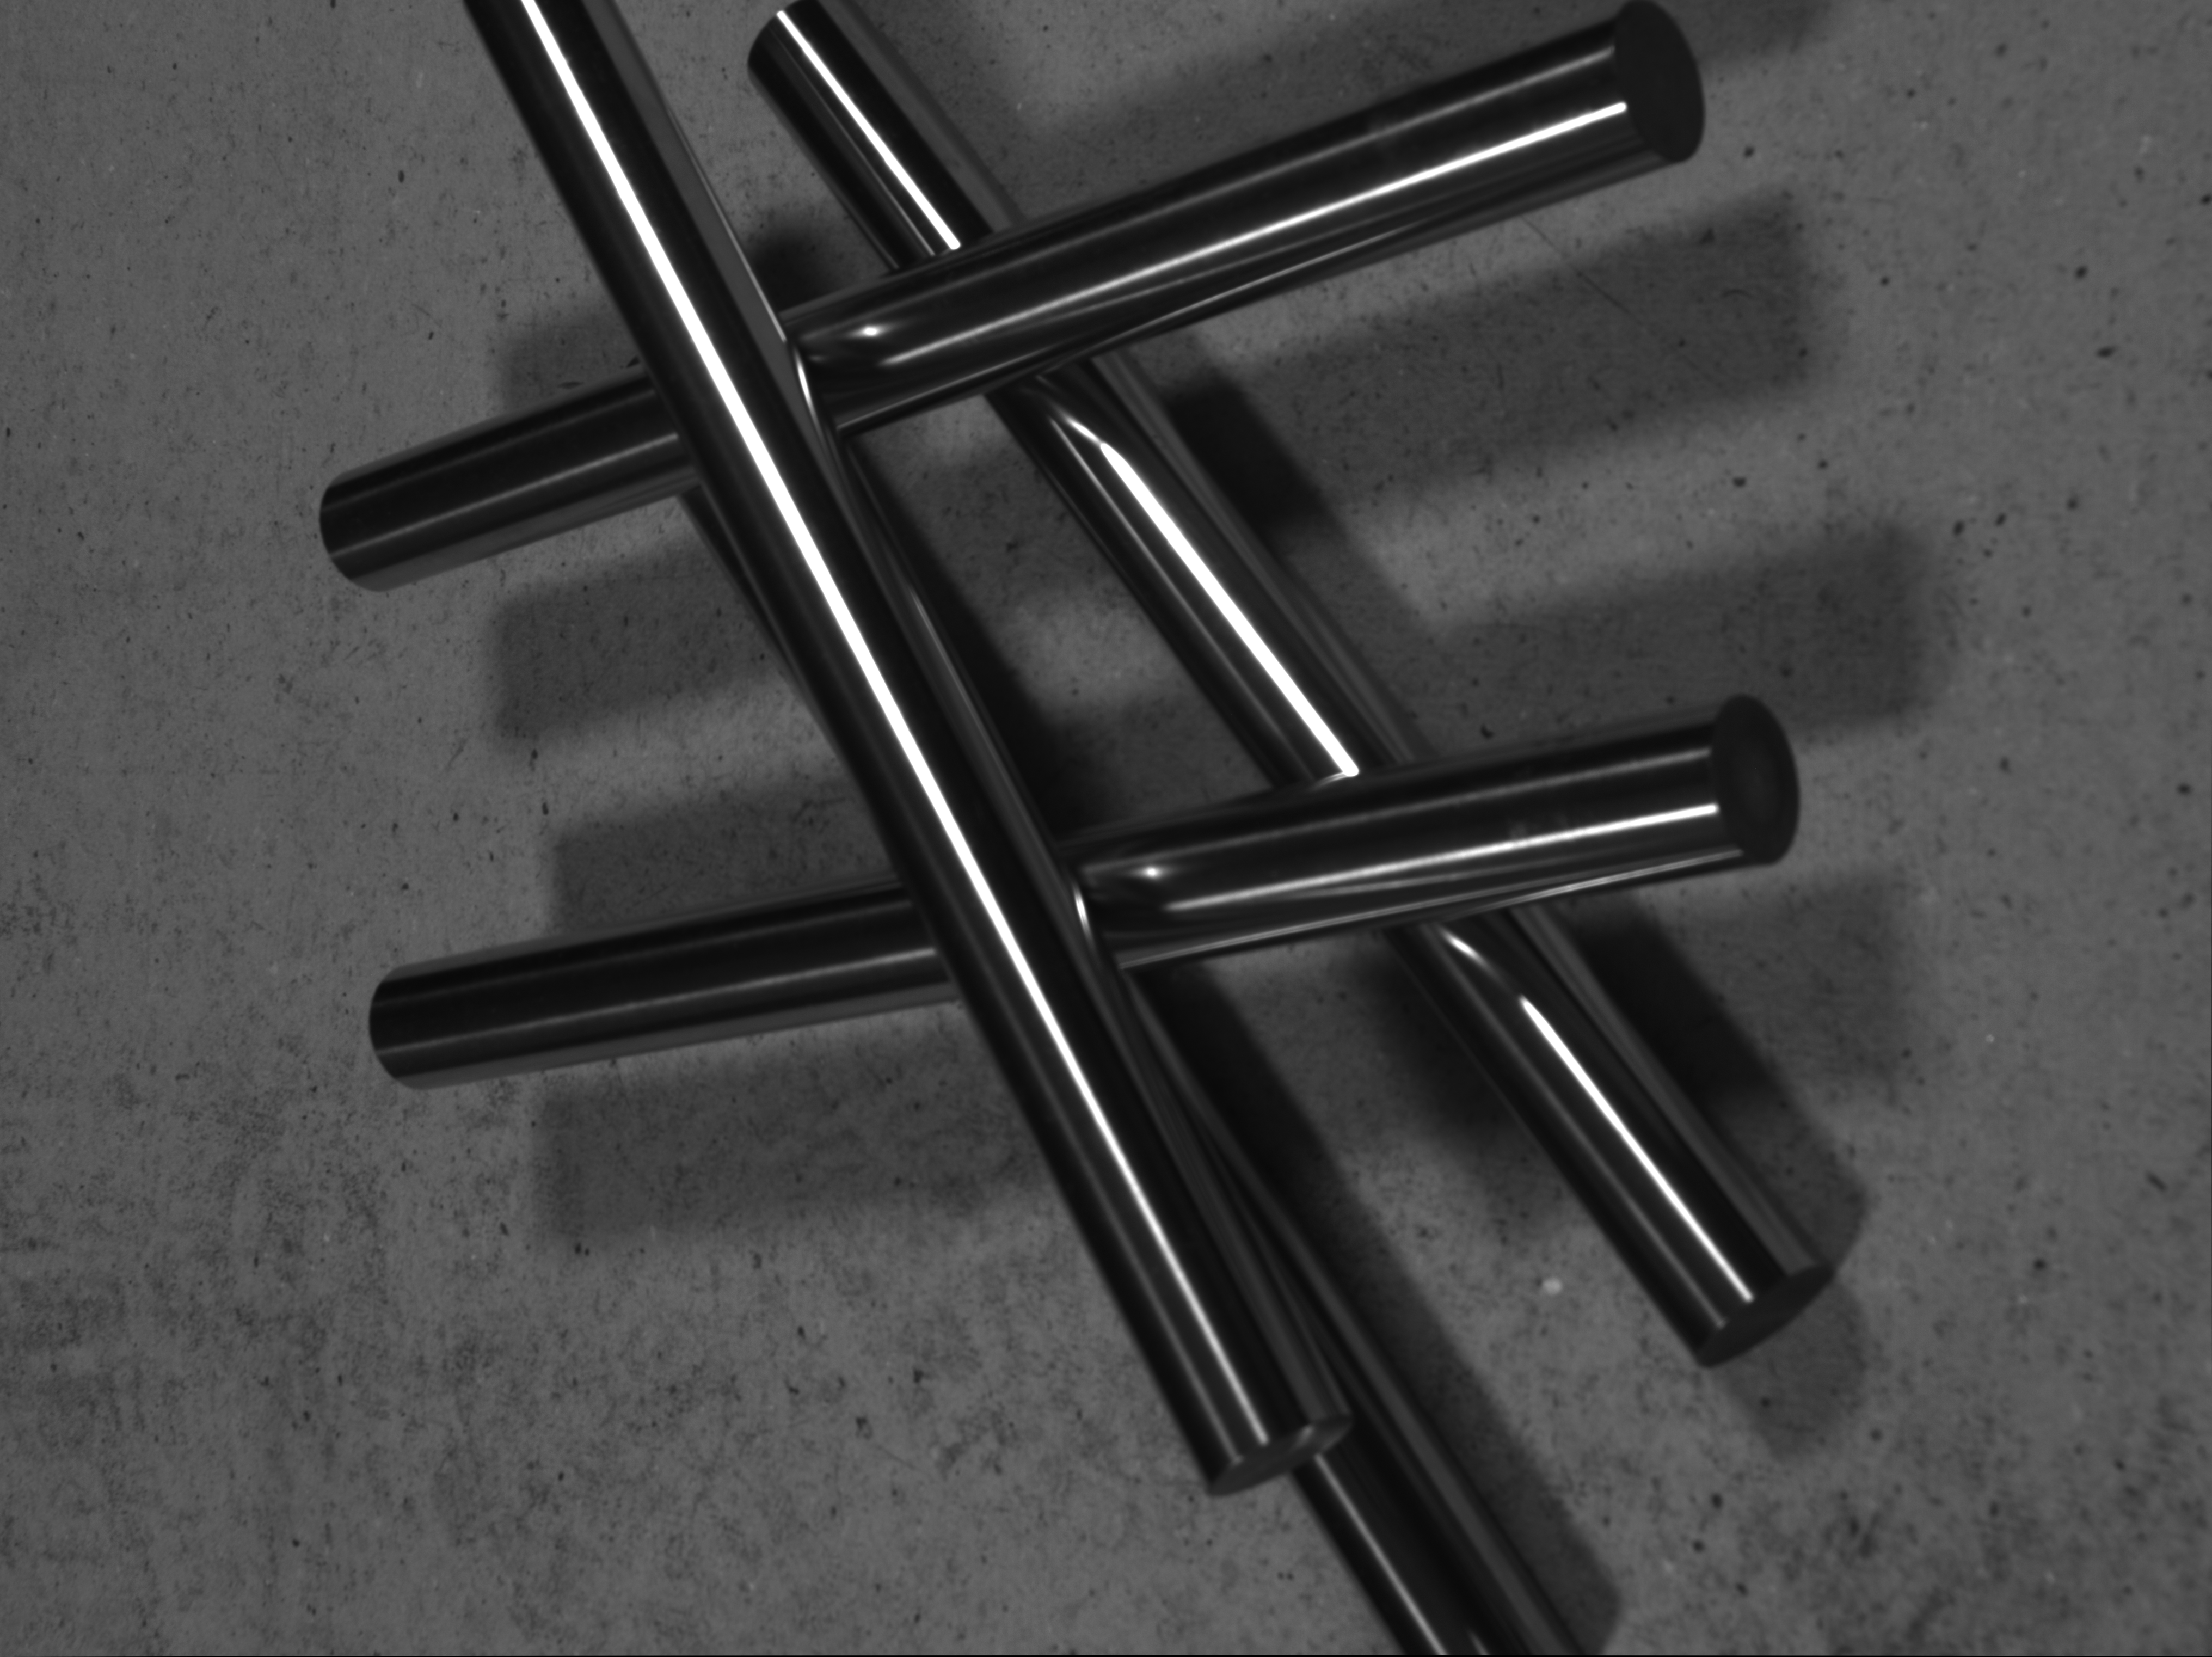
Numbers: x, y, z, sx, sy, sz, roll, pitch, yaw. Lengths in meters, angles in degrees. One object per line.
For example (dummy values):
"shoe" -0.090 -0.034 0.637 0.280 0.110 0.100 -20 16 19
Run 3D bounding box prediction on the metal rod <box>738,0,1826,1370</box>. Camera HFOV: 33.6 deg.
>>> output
"metal rod" 0.021 -0.036 0.619 0.025 0.025 0.299 -50 61 28

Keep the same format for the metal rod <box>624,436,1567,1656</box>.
"metal rod" -0.011 0.027 0.644 0.025 0.025 0.300 -48 62 29

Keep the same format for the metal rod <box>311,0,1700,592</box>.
"metal rod" -0.033 -0.085 0.632 0.299 0.025 0.025 -13 82 39

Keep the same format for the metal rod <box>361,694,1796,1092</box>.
"metal rod" -0.021 0.016 0.622 0.299 0.025 0.025 -11 83 39

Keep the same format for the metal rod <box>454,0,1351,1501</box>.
"metal rod" -0.040 -0.028 0.605 0.025 0.025 0.300 -41 65 31
